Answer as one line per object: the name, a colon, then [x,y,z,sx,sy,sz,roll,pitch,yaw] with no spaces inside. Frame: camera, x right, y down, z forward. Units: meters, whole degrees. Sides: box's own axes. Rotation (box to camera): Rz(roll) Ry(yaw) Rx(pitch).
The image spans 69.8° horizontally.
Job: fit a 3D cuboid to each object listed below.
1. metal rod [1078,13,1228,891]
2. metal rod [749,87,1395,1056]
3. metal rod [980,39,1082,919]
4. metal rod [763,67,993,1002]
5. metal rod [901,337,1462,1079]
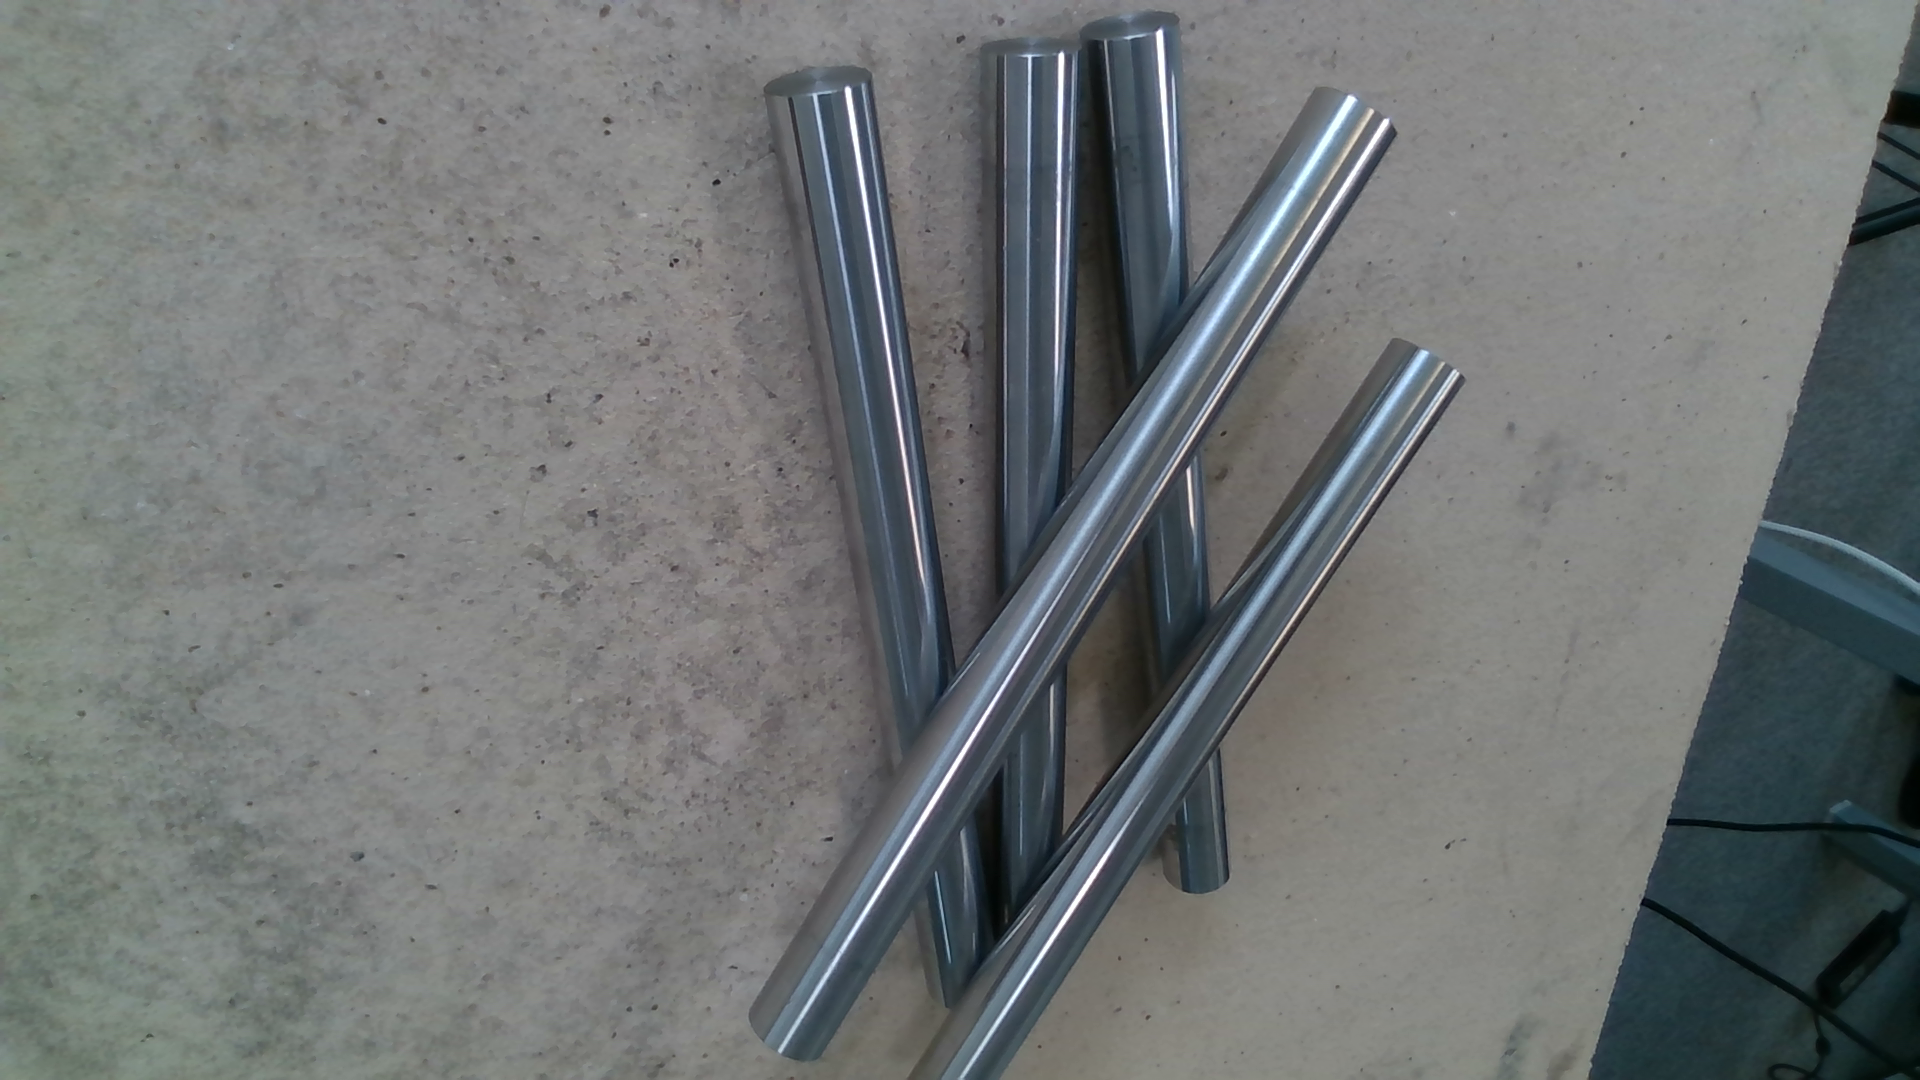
metal rod: [0.064,-0.004,0.427,0.025,0.025,0.301,-23,125,-19]
metal rod: [0.026,0.015,0.382,0.025,0.025,0.300,25,101,-38]
metal rod: [0.020,0.011,0.409,0.025,0.025,0.301,-16,122,-24]
metal rod: [-0.016,0.022,0.393,0.025,0.025,0.301,-21,124,-21]
metal rod: [0.061,0.072,0.434,0.025,0.025,0.300,26,100,-38]
